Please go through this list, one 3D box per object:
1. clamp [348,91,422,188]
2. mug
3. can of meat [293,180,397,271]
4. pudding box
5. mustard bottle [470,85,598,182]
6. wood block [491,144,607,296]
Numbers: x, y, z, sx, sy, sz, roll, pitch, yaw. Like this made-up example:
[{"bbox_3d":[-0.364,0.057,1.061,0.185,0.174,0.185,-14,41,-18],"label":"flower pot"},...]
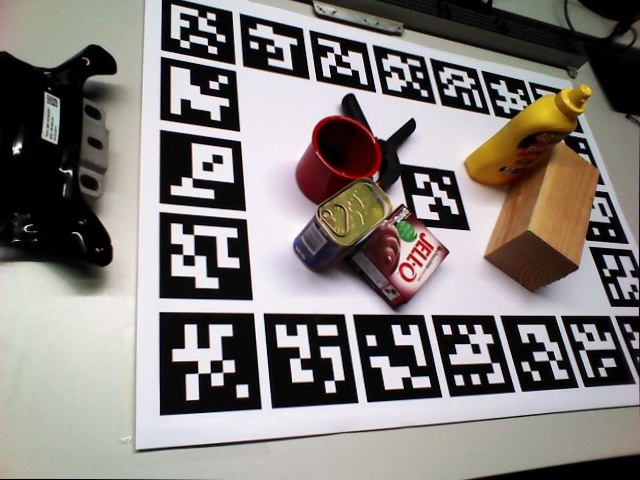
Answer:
[{"bbox_3d":[0.082,-0.130,0.720,0.122,0.037,0.164,22,61,-16],"label":"clamp"},{"bbox_3d":[0.013,-0.100,0.669,0.093,0.082,0.116,24,60,-13],"label":"mug"},{"bbox_3d":[0.026,-0.015,0.599,0.101,0.084,0.058,-30,82,-33],"label":"can of meat"},{"bbox_3d":[0.107,0.022,0.652,0.090,0.039,0.113,48,55,2],"label":"pudding box"},{"bbox_3d":[0.310,-0.152,0.736,0.096,0.193,0.058,-2,68,-25],"label":"mustard bottle"},{"bbox_3d":[0.338,-0.033,0.758,0.090,0.091,0.205,36,54,-3],"label":"wood block"}]
